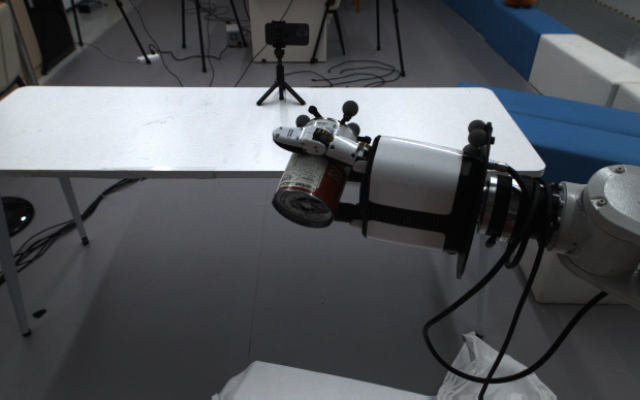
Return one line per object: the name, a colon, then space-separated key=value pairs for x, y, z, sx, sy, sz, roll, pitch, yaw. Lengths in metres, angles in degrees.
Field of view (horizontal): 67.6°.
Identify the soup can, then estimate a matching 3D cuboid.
soup can: x=-0.002 y=-0.032 z=0.522 sx=0.067 sy=0.067 sz=0.101 roll=12 pitch=59 yaw=14
